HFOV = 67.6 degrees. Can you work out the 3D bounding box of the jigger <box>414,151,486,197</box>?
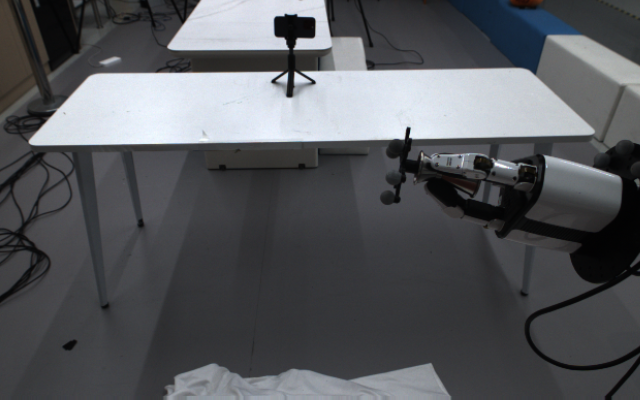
[{"bbox_3d":[0.148,-0.037,0.551,0.071,0.043,0.043,11,35,3],"label":"jigger"}]
